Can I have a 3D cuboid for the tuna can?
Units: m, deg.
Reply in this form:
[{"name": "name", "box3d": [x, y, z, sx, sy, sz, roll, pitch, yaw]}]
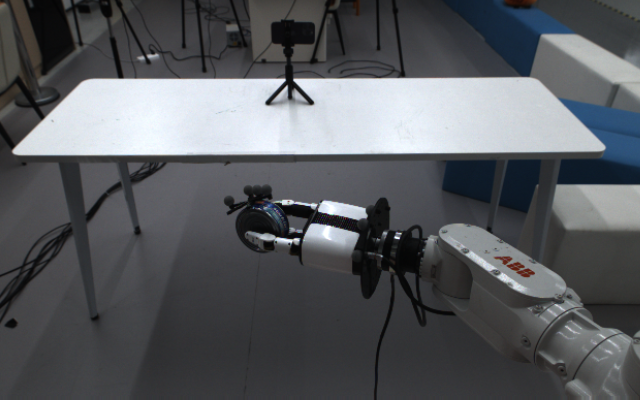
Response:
[{"name": "tuna can", "box3d": [-0.093, 0.051, 0.800, 0.085, 0.085, 0.034, 15, 29, 17]}]
